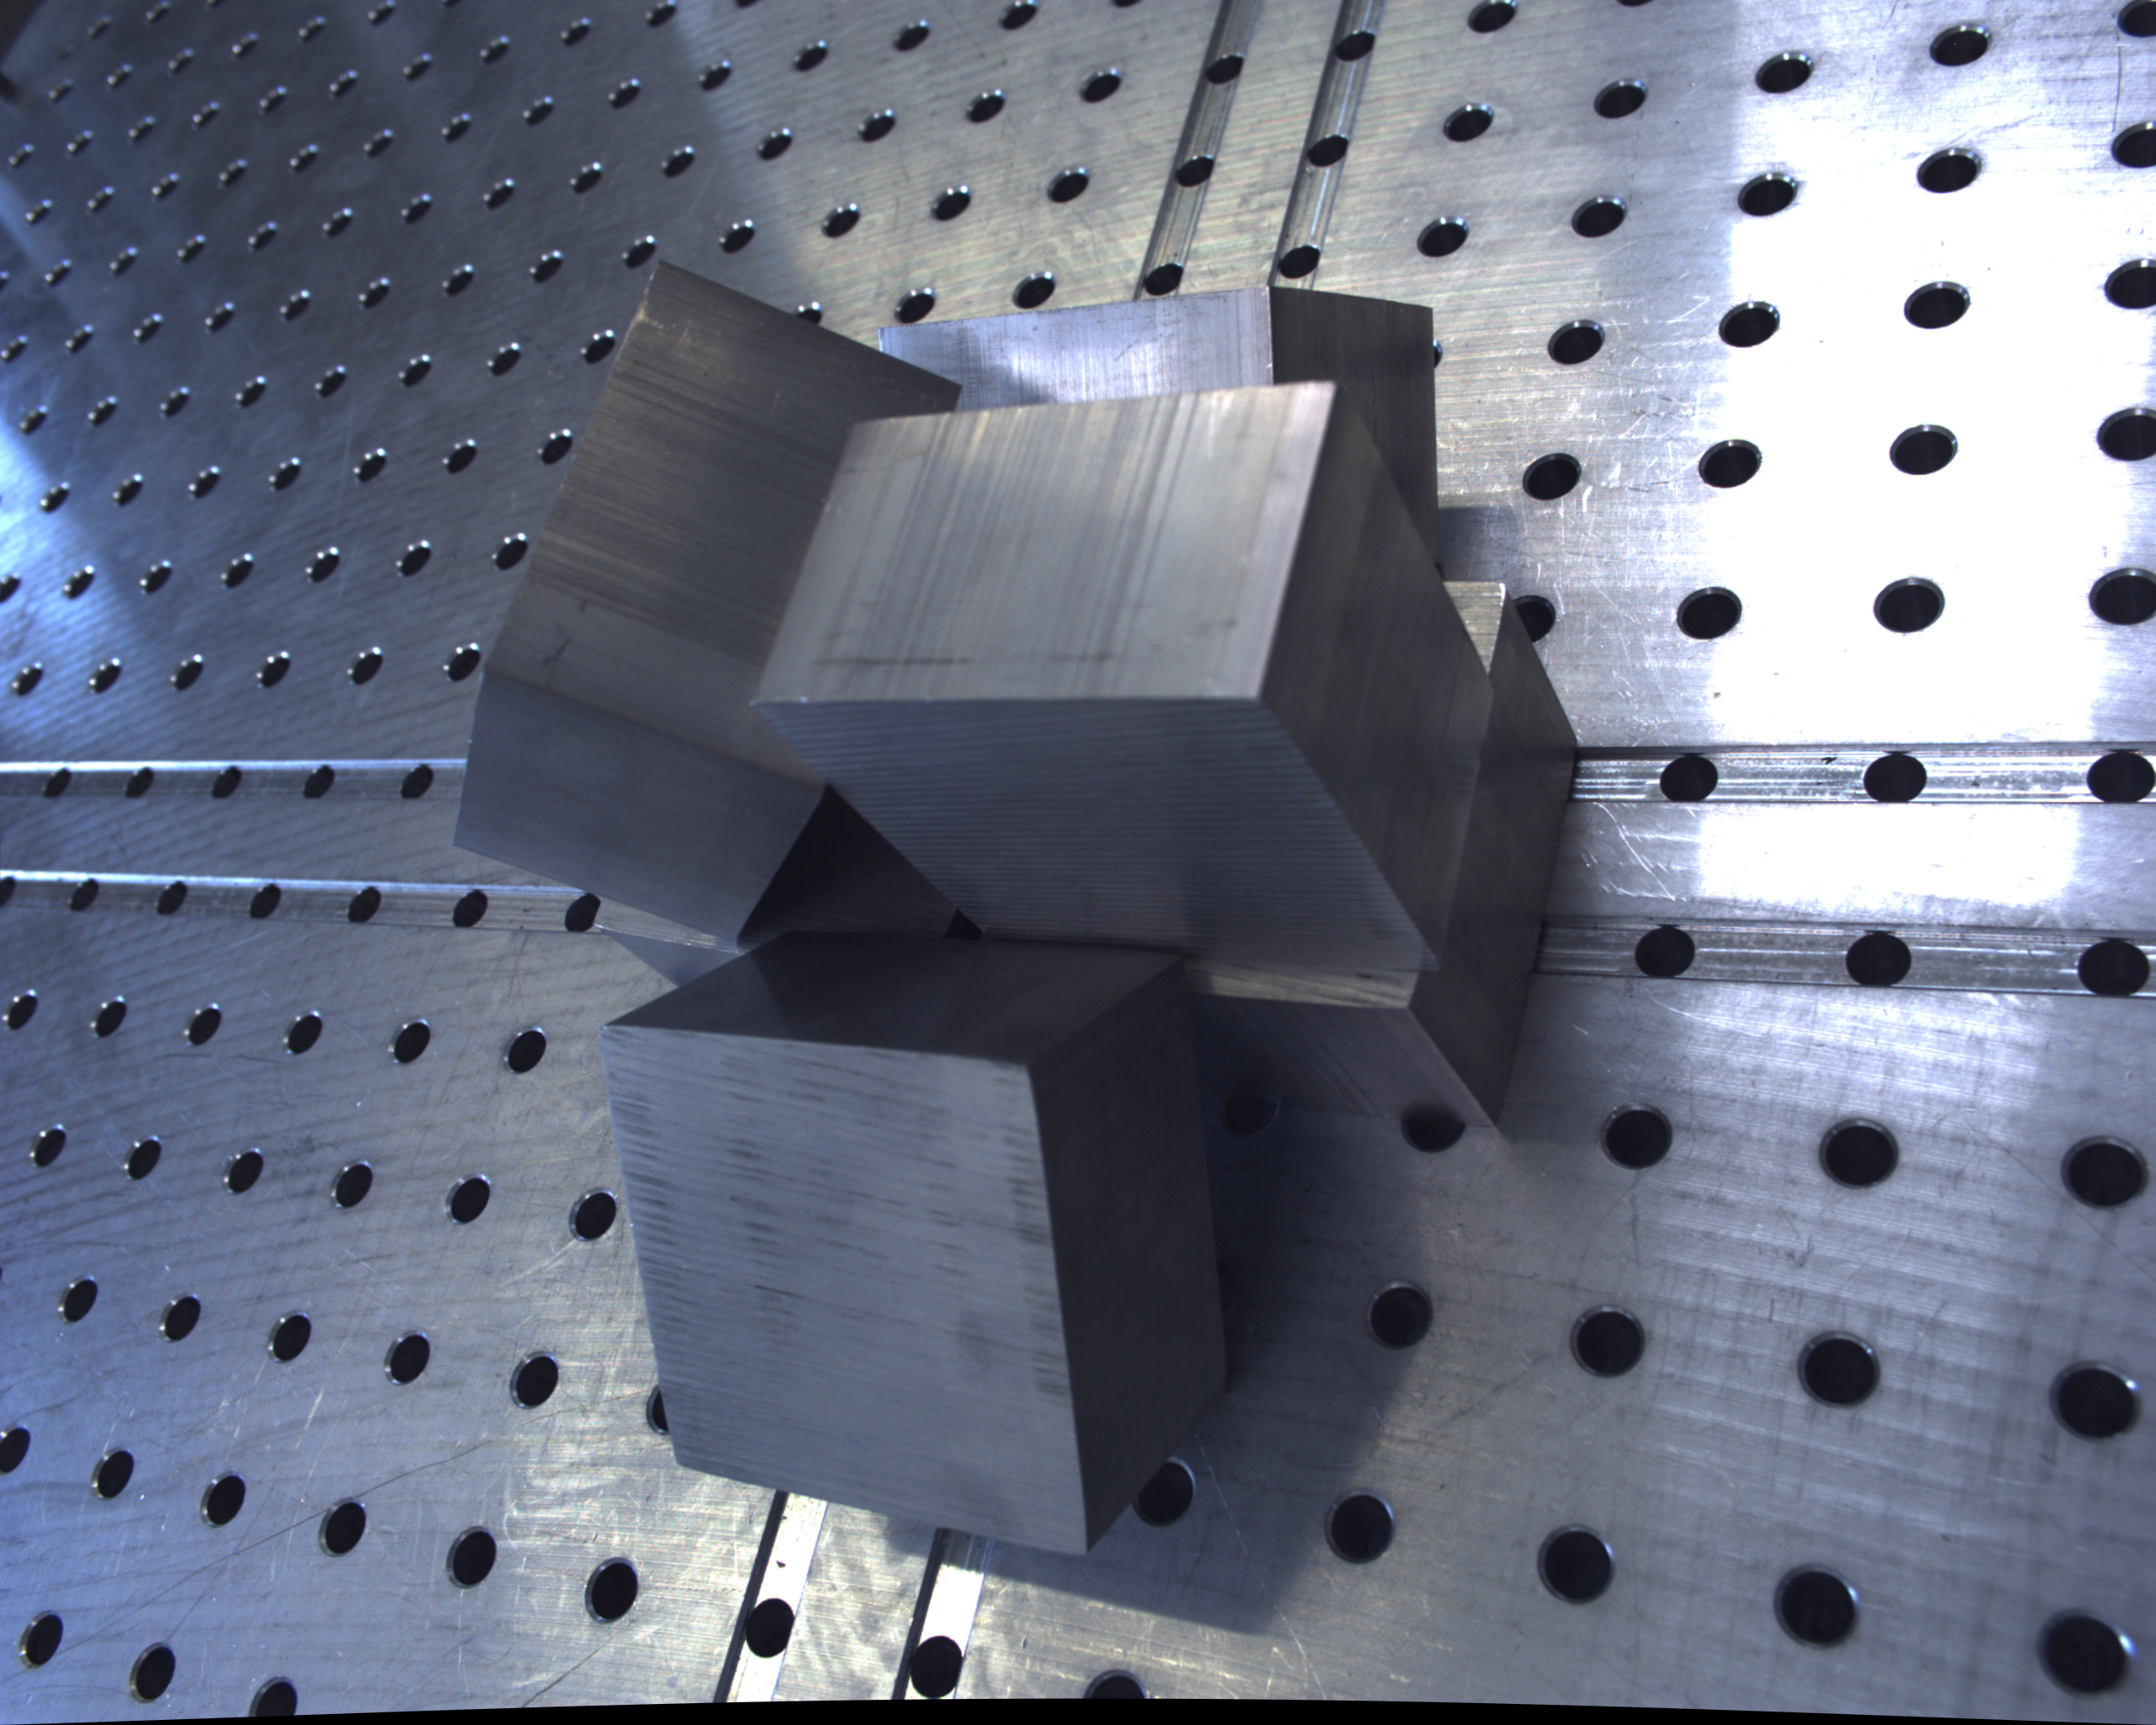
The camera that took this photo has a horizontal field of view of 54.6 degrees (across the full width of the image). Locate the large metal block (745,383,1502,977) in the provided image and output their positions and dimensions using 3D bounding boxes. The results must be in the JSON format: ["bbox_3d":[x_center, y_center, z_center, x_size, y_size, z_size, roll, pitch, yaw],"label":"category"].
[{"bbox_3d":[0.011,-0.024,0.319,0.080,0.080,0.050,2,63,29],"label":"large metal block"}]

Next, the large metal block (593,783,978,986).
[{"bbox_3d":[-0.036,-0.006,0.416,0.080,0.050,0.080,7,65,31],"label":"large metal block"}]

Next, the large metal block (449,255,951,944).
[{"bbox_3d":[-0.067,-0.041,0.359,0.080,0.050,0.080,136,152,-63],"label":"large metal block"}]

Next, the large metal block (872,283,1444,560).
[{"bbox_3d":[0.018,-0.080,0.404,0.080,0.080,0.050,2,101,29],"label":"large metal block"}]

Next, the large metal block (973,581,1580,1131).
[{"bbox_3d":[0.037,-0.002,0.374,0.080,0.050,0.080,3,63,29],"label":"large metal block"}]

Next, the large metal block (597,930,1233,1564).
[{"bbox_3d":[-0.025,0.059,0.344,0.080,0.050,0.080,2,107,29],"label":"large metal block"}]
